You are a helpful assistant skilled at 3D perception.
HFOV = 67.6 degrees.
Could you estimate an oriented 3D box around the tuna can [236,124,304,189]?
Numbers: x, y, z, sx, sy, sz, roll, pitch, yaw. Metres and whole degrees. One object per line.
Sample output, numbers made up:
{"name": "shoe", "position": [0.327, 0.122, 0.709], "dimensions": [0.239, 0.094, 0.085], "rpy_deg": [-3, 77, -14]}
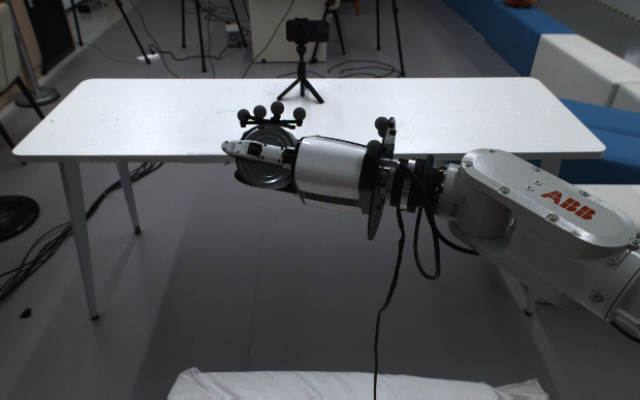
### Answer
{"name": "tuna can", "position": [-0.068, -0.057, 0.653], "dimensions": [0.085, 0.085, 0.034], "rpy_deg": [12, -1, 14]}
